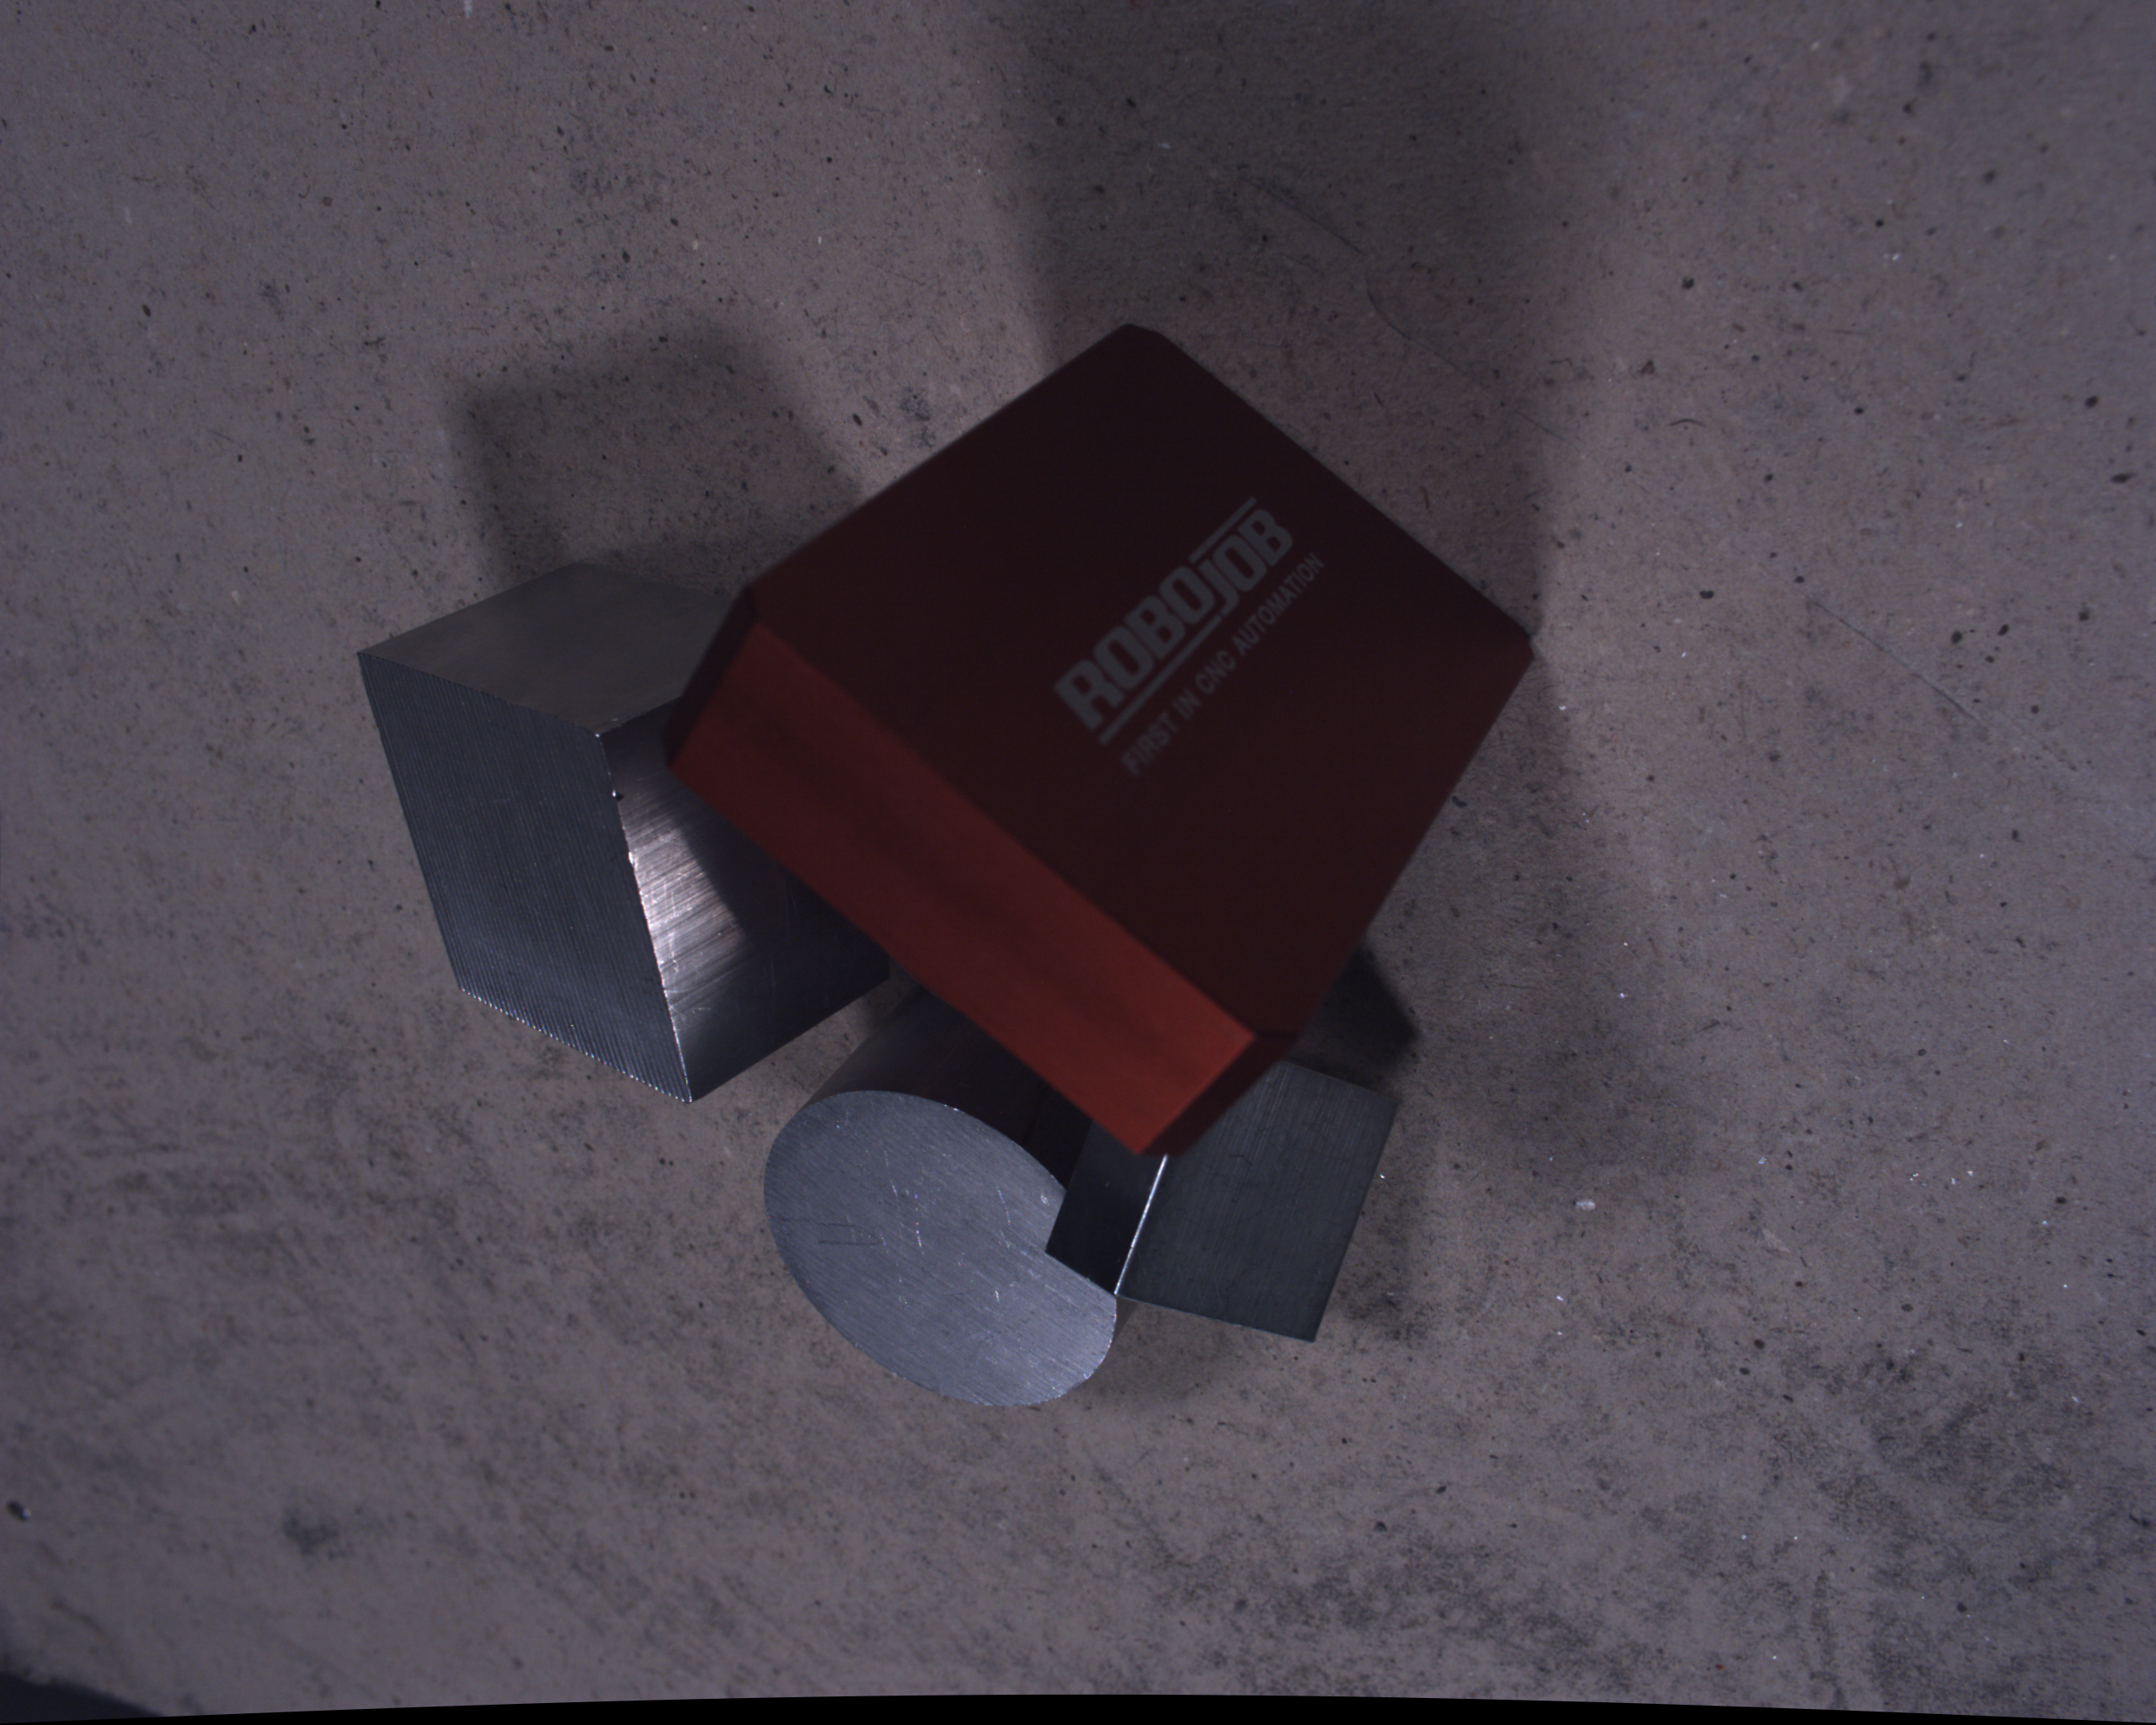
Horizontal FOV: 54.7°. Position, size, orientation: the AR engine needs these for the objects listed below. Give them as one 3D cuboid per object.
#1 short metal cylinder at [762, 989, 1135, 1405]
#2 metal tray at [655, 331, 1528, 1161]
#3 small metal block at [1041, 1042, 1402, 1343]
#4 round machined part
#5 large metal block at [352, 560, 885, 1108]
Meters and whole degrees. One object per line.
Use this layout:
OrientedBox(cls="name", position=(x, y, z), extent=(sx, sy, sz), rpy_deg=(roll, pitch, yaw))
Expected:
OrientedBox(cls="short metal cylinder", position=(-0.019, 0.067, 0.443), extent=(0.080, 0.050, 0.079), rpy_deg=(13, 124, 20))
OrientedBox(cls="metal tray", position=(0.010, -0.026, 0.317), extent=(0.090, 0.131, 0.030), rpy_deg=(39, 129, 1))
OrientedBox(cls="small metal block", position=(0.028, 0.060, 0.399), extent=(0.050, 0.050, 0.025), rpy_deg=(21, 178, -34))
OrientedBox(cls="round machined part", position=(-0.006, -0.008, 0.395), extent=(0.098, 0.042, 0.097), rpy_deg=(13, 124, 20))
OrientedBox(cls="large metal block", position=(-0.091, -0.008, 0.417), extent=(0.080, 0.050, 0.079), rpy_deg=(18, 128, 38))
